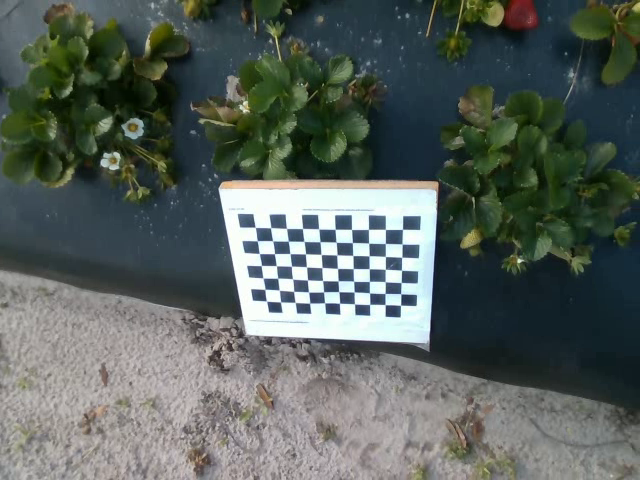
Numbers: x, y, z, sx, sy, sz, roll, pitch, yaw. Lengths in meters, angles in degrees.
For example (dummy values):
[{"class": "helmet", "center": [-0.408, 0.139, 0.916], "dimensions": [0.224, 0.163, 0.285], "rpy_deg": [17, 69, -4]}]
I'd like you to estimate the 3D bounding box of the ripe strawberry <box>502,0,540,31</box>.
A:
[{"class": "ripe strawberry", "center": [0.293, -0.323, 0.892], "dimensions": [0.048, 0.055, 0.051], "rpy_deg": [4, -44, -38]}]
